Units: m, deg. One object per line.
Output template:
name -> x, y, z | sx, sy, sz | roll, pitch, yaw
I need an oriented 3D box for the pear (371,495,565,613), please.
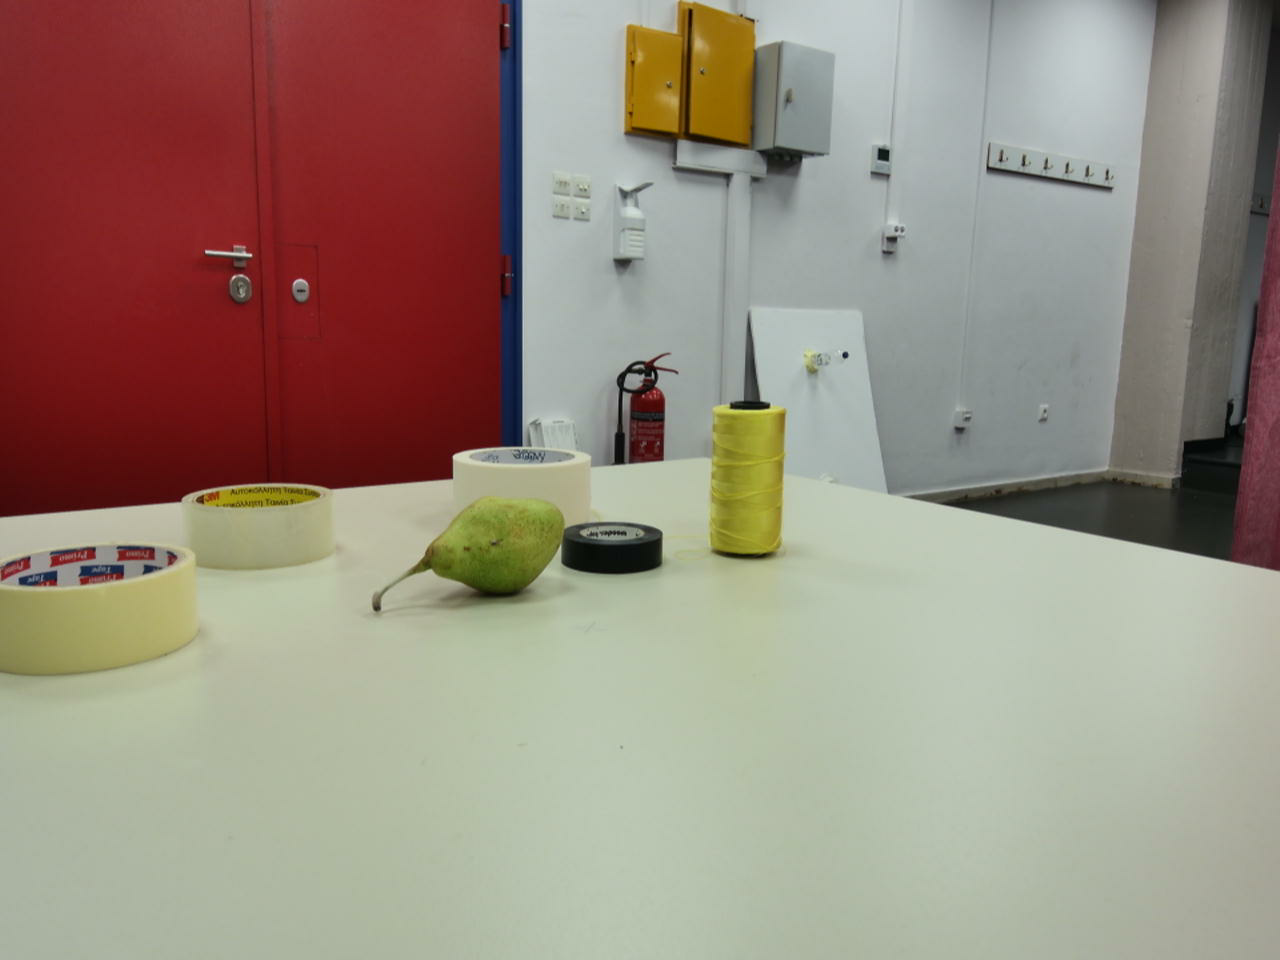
pear -> -0.097, 0.038, 0.566 | 0.111, 0.056, 0.056 | -3, 8, -21
